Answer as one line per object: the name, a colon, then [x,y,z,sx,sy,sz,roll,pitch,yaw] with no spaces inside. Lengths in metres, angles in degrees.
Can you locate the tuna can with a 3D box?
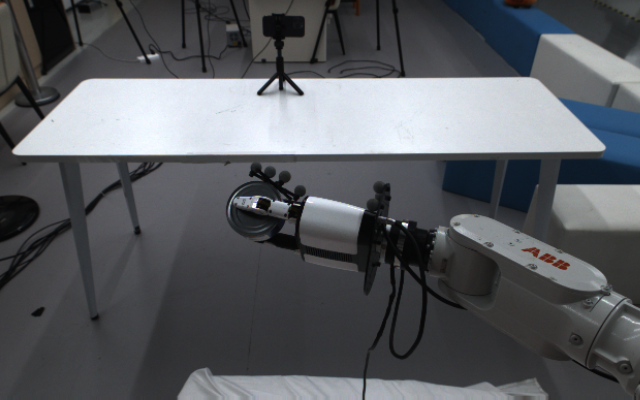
tuna can: [-0.092,0.018,0.716,0.085,0.034,0.085,-2,71,6]
